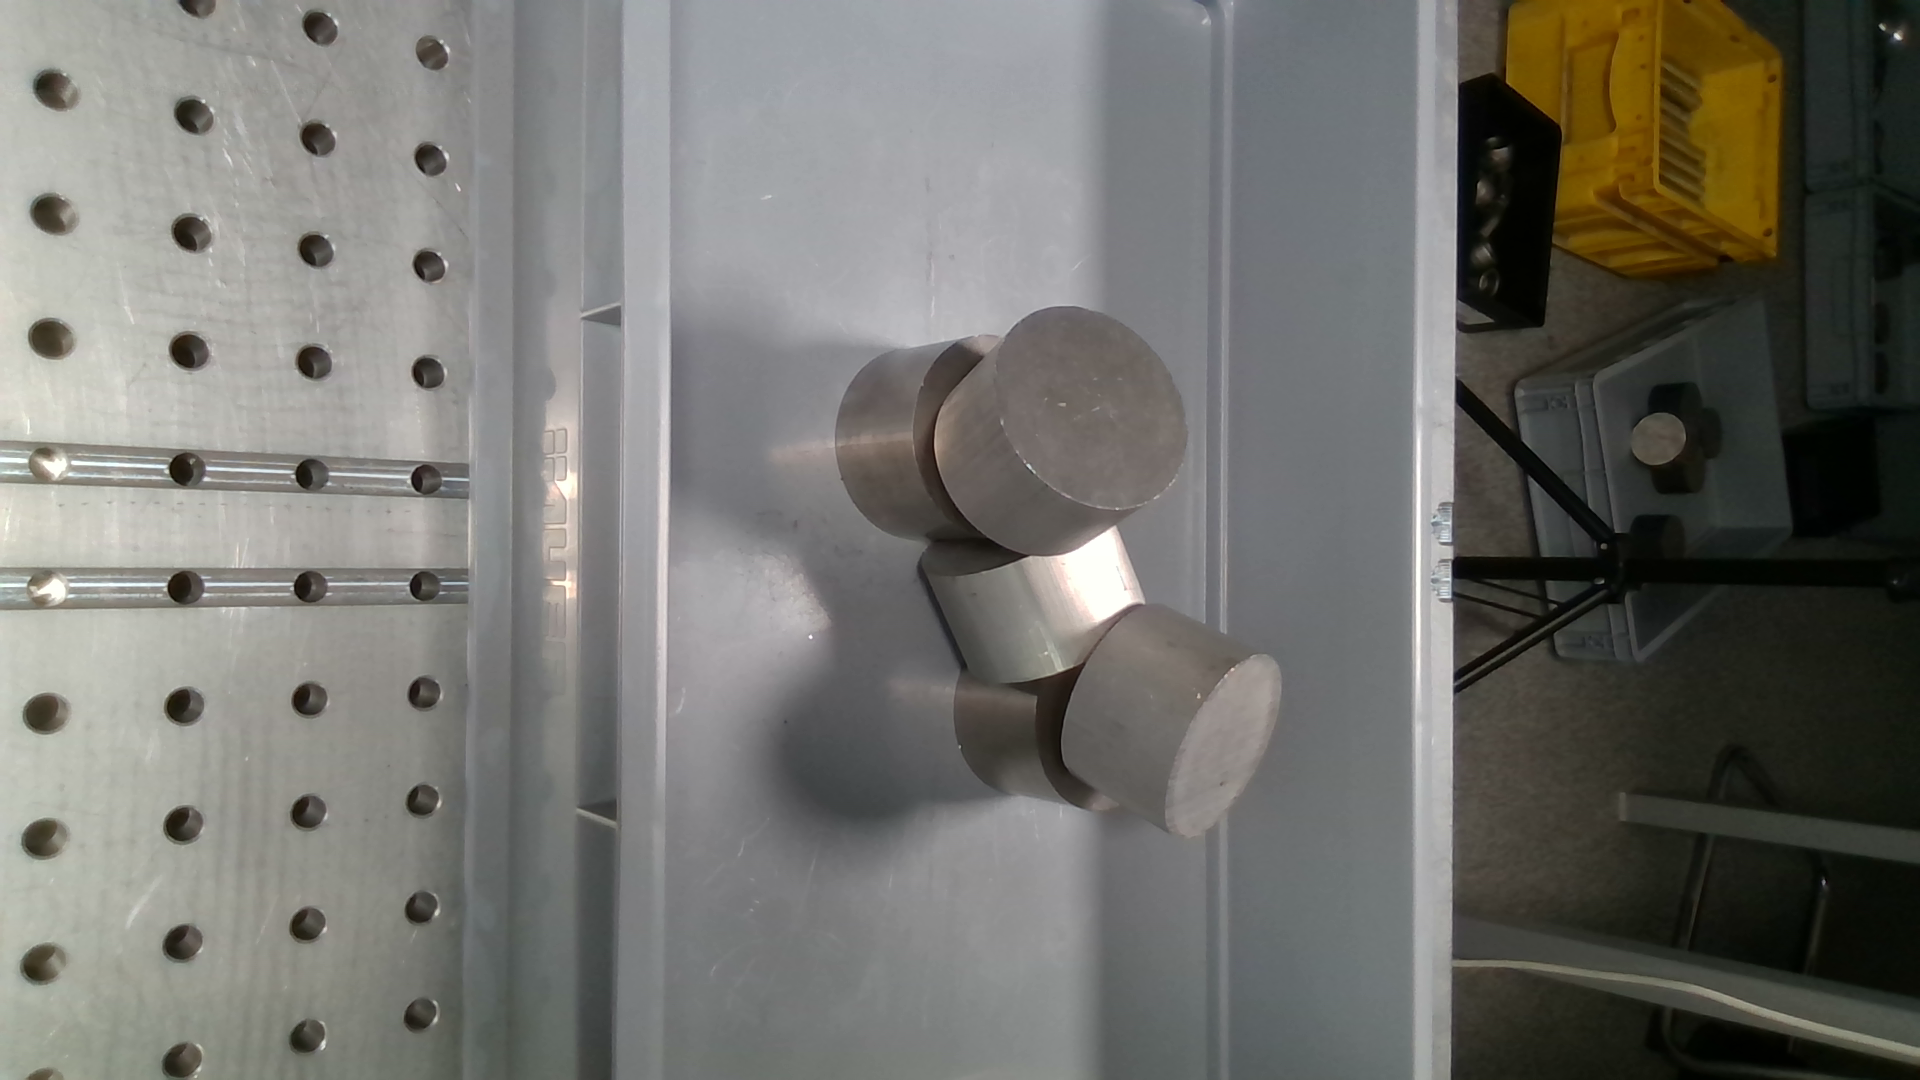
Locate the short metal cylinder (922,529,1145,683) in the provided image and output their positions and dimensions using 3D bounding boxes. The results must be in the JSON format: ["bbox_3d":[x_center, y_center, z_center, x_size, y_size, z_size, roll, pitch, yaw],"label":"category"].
[{"bbox_3d":[0.031,0.016,0.571,0.080,0.080,0.050,-37,113,-34],"label":"short metal cylinder"}]

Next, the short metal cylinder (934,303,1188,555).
[{"bbox_3d":[0.037,-0.040,0.512,0.080,0.050,0.080,10,66,-24],"label":"short metal cylinder"}]

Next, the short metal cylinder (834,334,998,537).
[{"bbox_3d":[-0.004,-0.041,0.562,0.080,0.050,0.080,0,90,-40],"label":"short metal cylinder"}]

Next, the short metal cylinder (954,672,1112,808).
[{"bbox_3d":[0.044,0.074,0.603,0.080,0.050,0.080,0,90,-40],"label":"short metal cylinder"}]

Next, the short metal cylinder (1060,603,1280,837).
[{"bbox_3d":[0.085,0.071,0.552,0.080,0.050,0.080,-31,134,-38],"label":"short metal cylinder"}]
